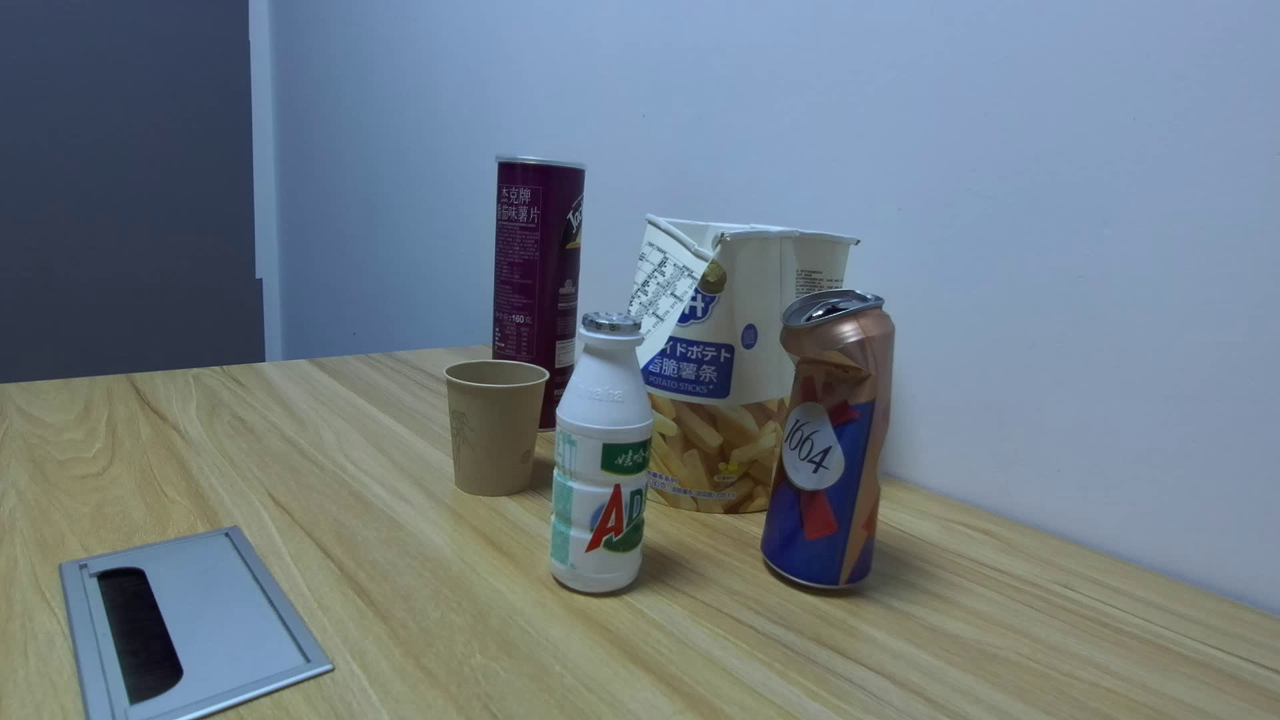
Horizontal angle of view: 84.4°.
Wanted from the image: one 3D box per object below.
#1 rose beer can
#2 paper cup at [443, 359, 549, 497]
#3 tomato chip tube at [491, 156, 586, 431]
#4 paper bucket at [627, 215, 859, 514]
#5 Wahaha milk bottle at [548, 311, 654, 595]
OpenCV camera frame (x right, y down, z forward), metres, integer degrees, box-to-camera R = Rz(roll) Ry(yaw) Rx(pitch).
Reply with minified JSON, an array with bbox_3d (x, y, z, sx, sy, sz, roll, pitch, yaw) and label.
[{"bbox_3d":[0.108,0.046,0.404,0.069,0.168,0.070,10,18,31],"label":"rose beer can"},{"bbox_3d":[-0.102,0.048,0.503,0.075,0.082,0.075,4,12,-1],"label":"paper cup"},{"bbox_3d":[-0.094,-0.057,0.636,0.078,0.233,0.078,4,10,0],"label":"tomato chip tube"},{"bbox_3d":[0.053,-0.006,0.543,0.170,0.202,0.162,-4,14,-43],"label":"paper bucket"},{"bbox_3d":[-0.020,0.050,0.383,0.053,0.147,0.053,4,13,-1],"label":"Wahaha milk bottle"}]
